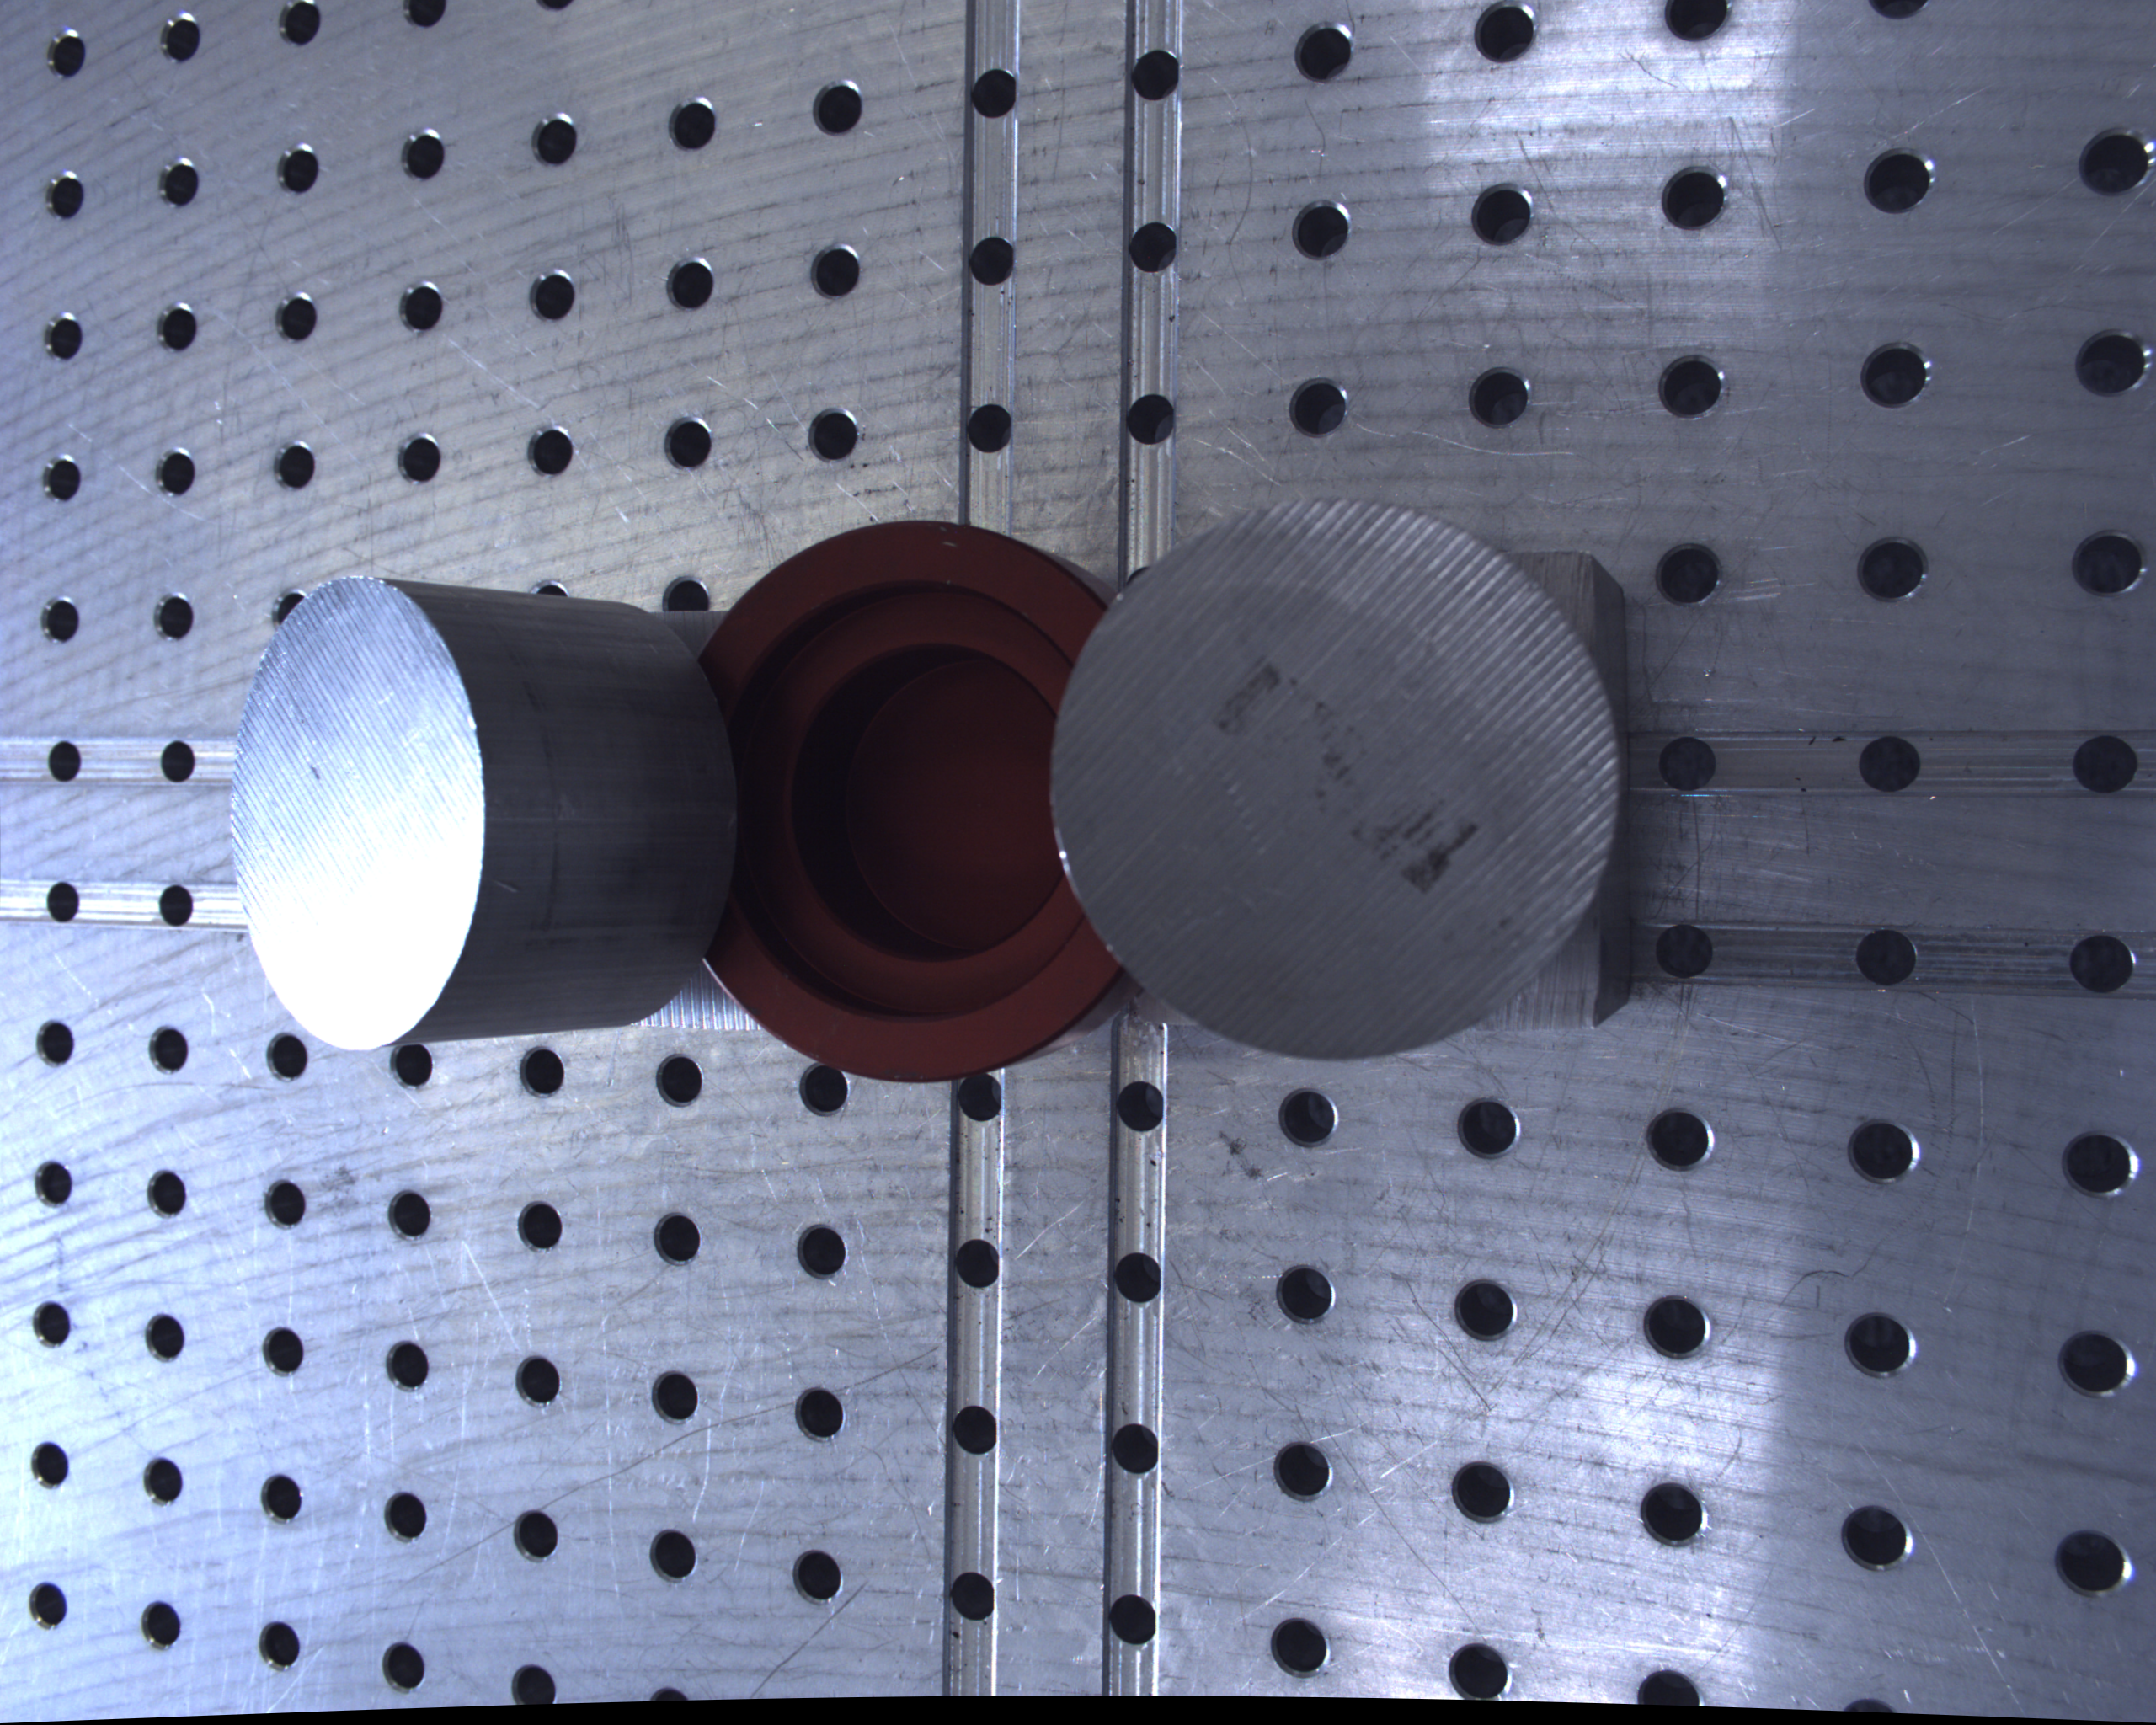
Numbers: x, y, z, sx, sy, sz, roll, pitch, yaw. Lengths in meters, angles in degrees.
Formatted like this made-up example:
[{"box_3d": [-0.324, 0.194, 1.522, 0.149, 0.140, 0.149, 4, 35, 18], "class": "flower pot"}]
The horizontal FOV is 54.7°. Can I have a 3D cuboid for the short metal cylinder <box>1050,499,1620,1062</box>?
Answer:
[{"box_3d": [0.036, -0.012, 0.319, 0.081, 0.050, 0.080, 0, 90, 0], "class": "short metal cylinder"}]

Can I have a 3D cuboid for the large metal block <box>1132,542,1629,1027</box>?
[{"box_3d": [0.057, -0.012, 0.379, 0.080, 0.050, 0.080, -1, 90, 20], "class": "large metal block"}]

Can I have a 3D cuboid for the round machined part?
[{"box_3d": [-0.023, -0.011, 0.380, 0.098, 0.042, 0.097, 0, 90, 20], "class": "round machined part"}]

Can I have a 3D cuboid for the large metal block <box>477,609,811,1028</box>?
[{"box_3d": [-0.085, -0.009, 0.429, 0.080, 0.050, 0.080, 1, 90, 20], "class": "large metal block"}]

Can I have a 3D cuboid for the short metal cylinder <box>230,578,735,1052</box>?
[{"box_3d": [-0.106, -0.008, 0.370, 0.080, 0.050, 0.079, 1, 92, 41], "class": "short metal cylinder"}]
